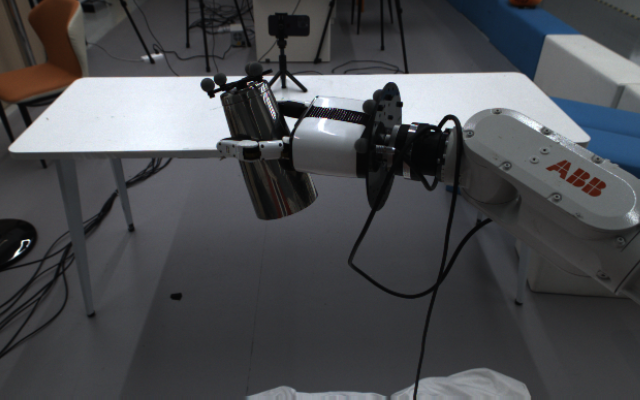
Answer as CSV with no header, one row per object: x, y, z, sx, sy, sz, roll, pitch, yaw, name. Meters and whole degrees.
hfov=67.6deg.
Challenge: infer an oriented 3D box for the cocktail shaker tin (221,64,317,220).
-0.072,-0.069,0.653,0.093,0.170,0.093,-17,21,7,cocktail shaker tin
